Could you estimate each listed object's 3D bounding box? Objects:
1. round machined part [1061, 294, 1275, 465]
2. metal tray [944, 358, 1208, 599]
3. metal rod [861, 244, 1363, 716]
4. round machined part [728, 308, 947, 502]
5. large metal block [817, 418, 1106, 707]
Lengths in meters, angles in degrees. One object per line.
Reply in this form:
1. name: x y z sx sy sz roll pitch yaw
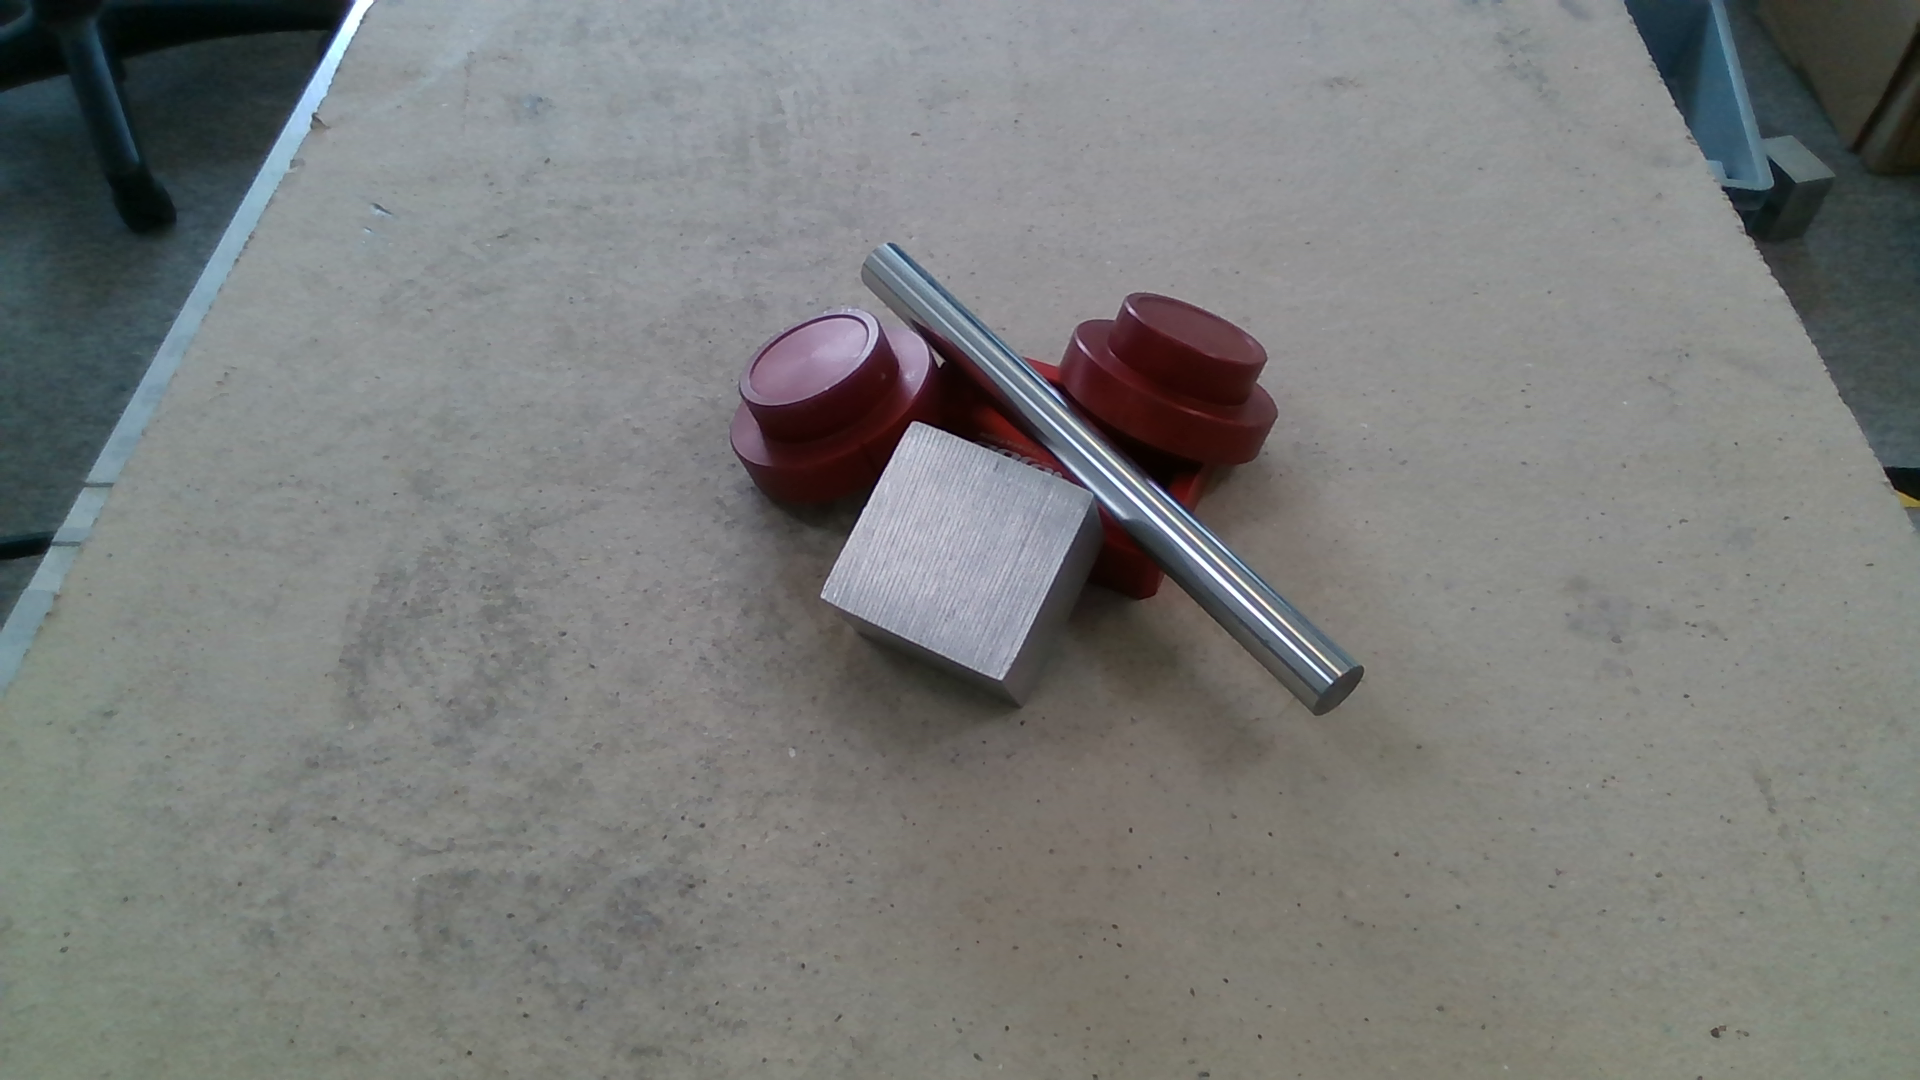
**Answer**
1. round machined part: 0.096 -0.076 0.614 0.098 0.042 0.098 17 27 -9
2. metal tray: 0.040 -0.034 0.613 0.130 0.030 0.090 19 53 15
3. metal rod: 0.050 -0.038 0.581 0.025 0.025 0.299 -29 56 -22
4. round machined part: -0.059 -0.065 0.609 0.098 0.042 0.098 -15 41 14
5. large metal block: 0.003 0.010 0.544 0.080 0.050 0.080 23 78 18
